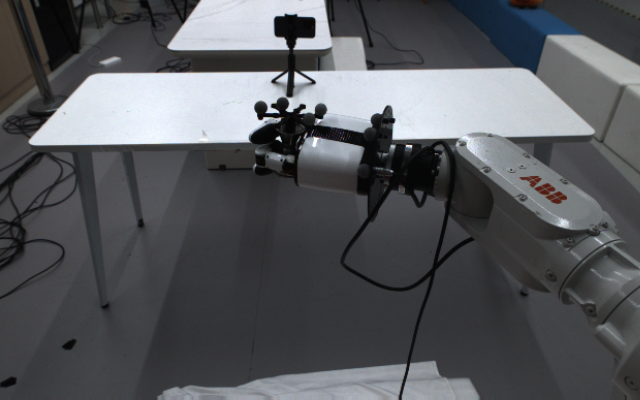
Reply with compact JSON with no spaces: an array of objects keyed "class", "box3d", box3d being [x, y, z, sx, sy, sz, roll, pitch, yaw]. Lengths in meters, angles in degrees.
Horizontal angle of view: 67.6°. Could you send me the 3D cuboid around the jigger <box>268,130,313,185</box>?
[{"class":"jigger","box3d":[-0.040,-0.072,0.686,0.043,0.071,0.043,4,31,-2]}]
